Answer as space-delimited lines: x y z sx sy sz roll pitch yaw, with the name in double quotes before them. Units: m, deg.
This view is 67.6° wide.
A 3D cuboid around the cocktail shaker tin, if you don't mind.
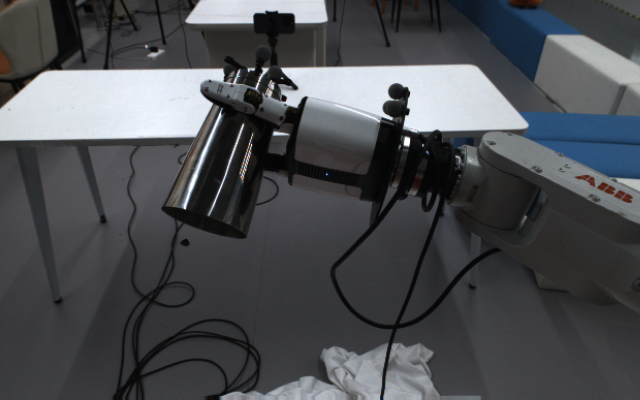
"cocktail shaker tin" -0.096 -0.055 0.531 0.093 0.093 0.170 12 72 14
